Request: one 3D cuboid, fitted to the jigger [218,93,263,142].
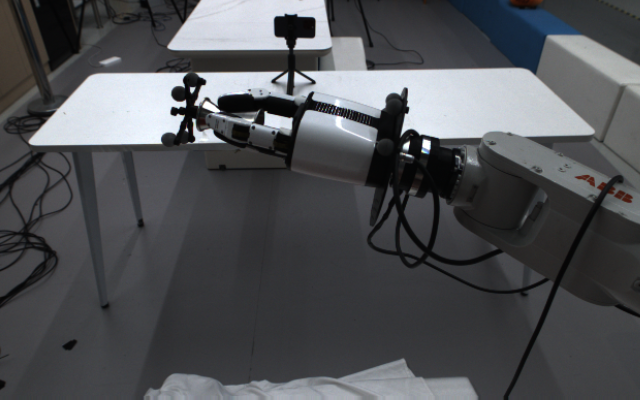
[{"bbox_3d":[-0.100,-0.094,0.559,0.071,0.043,0.043,14,36,4],"label":"jigger"}]
